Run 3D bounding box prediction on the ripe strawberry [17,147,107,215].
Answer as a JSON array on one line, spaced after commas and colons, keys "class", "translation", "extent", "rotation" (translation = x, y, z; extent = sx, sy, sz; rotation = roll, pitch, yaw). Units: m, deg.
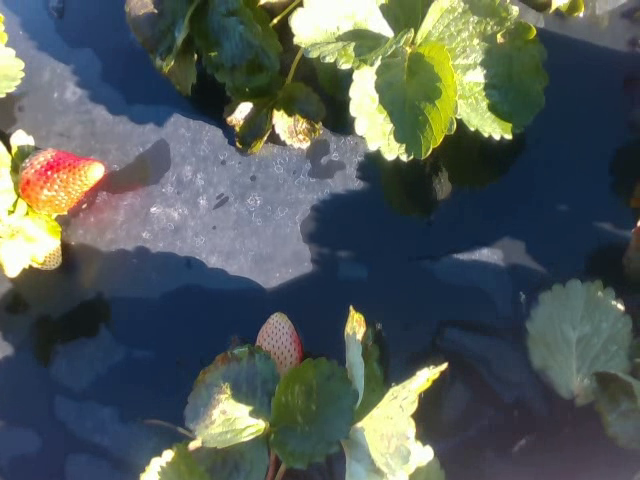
[{"class": "ripe strawberry", "translation": [-0.160, -0.040, 0.386], "extent": [0.064, 0.050, 0.052], "rotation": [-14, 25, 15]}]
